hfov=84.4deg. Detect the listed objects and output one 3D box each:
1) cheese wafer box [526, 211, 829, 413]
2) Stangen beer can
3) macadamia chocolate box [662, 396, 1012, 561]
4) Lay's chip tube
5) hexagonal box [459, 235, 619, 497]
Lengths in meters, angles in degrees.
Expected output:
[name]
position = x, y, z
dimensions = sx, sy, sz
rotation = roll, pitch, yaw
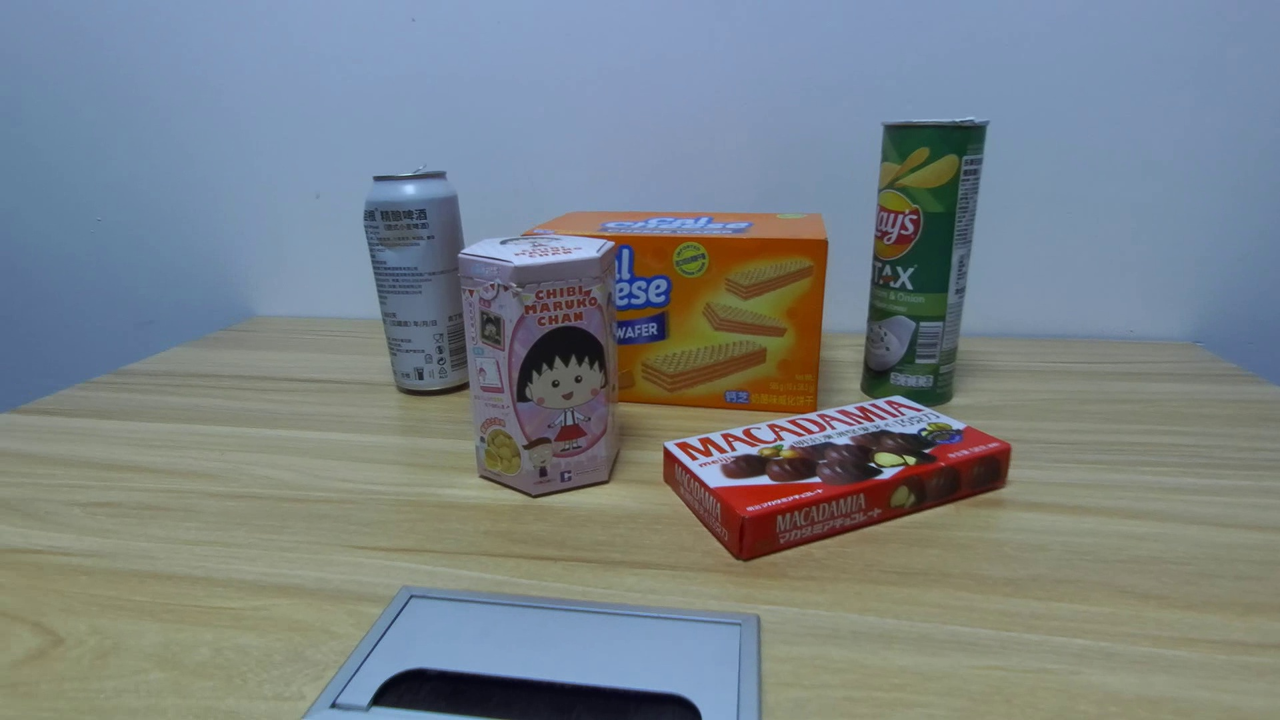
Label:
[cheese wafer box]
position = 0.035, -0.047, 0.572
dimensions = 0.221, 0.129, 0.148
rotation = 3, 19, 10
[Stangen beer can]
position = -0.171, -0.062, 0.557
dimensions = 0.070, 0.173, 0.069
rotation = -4, 15, -4
[macadamia chocolate box]
position = 0.111, 0.060, 0.406
dimensions = 0.178, 0.027, 0.095
rotation = -8, 19, -21
[Lay's chip tube]
position = 0.206, -0.071, 0.519
dimensions = 0.071, 0.202, 0.071
rotation = -1, 17, 1
[hexagonal box]
position = -0.055, 0.001, 0.417
dimensions = 0.091, 0.136, 0.083
rotation = -9, 19, -21
